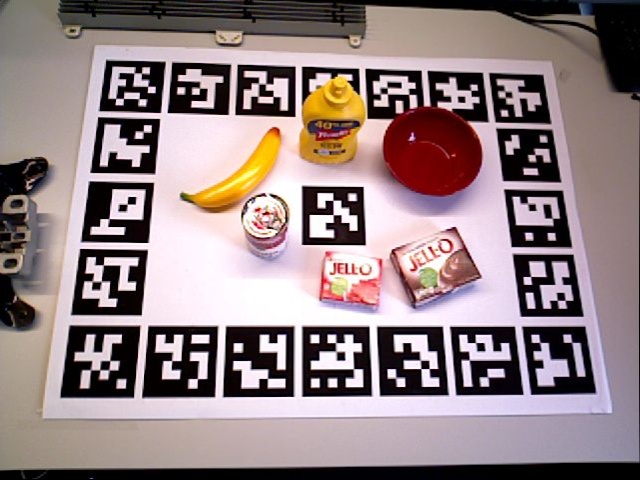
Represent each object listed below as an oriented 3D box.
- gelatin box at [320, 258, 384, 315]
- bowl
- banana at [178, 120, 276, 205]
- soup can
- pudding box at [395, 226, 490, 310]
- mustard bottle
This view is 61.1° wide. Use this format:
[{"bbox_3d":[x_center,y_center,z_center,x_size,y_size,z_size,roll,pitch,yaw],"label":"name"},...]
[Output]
[{"bbox_3d":[0.047,0.069,0.805,0.089,0.030,0.073,7,74,-1],"label":"gelatin box"},{"bbox_3d":[0.186,-0.137,0.874,0.161,0.056,0.160,1,70,-2],"label":"bowl"},{"bbox_3d":[-0.129,-0.116,0.852,0.074,0.039,0.195,38,72,19],"label":"banana"},{"bbox_3d":[-0.082,-0.024,0.780,0.067,0.104,0.067,2,68,-6],"label":"soup can"},{"bbox_3d":[0.182,0.042,0.818,0.112,0.039,0.090,-23,80,-11],"label":"pudding box"},{"bbox_3d":[0.024,-0.184,0.791,0.095,0.195,0.058,1,67,-5],"label":"mustard bottle"}]
